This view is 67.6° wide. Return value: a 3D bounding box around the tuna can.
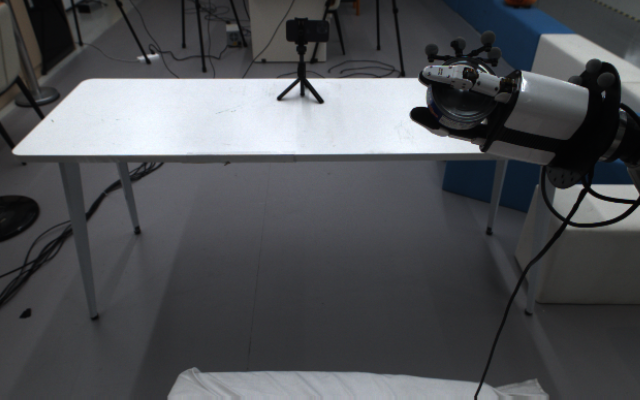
[{"bbox_3d":[0.178,-0.136,0.608,0.085,0.034,0.085,0,74,1],"label":"tuna can"}]
